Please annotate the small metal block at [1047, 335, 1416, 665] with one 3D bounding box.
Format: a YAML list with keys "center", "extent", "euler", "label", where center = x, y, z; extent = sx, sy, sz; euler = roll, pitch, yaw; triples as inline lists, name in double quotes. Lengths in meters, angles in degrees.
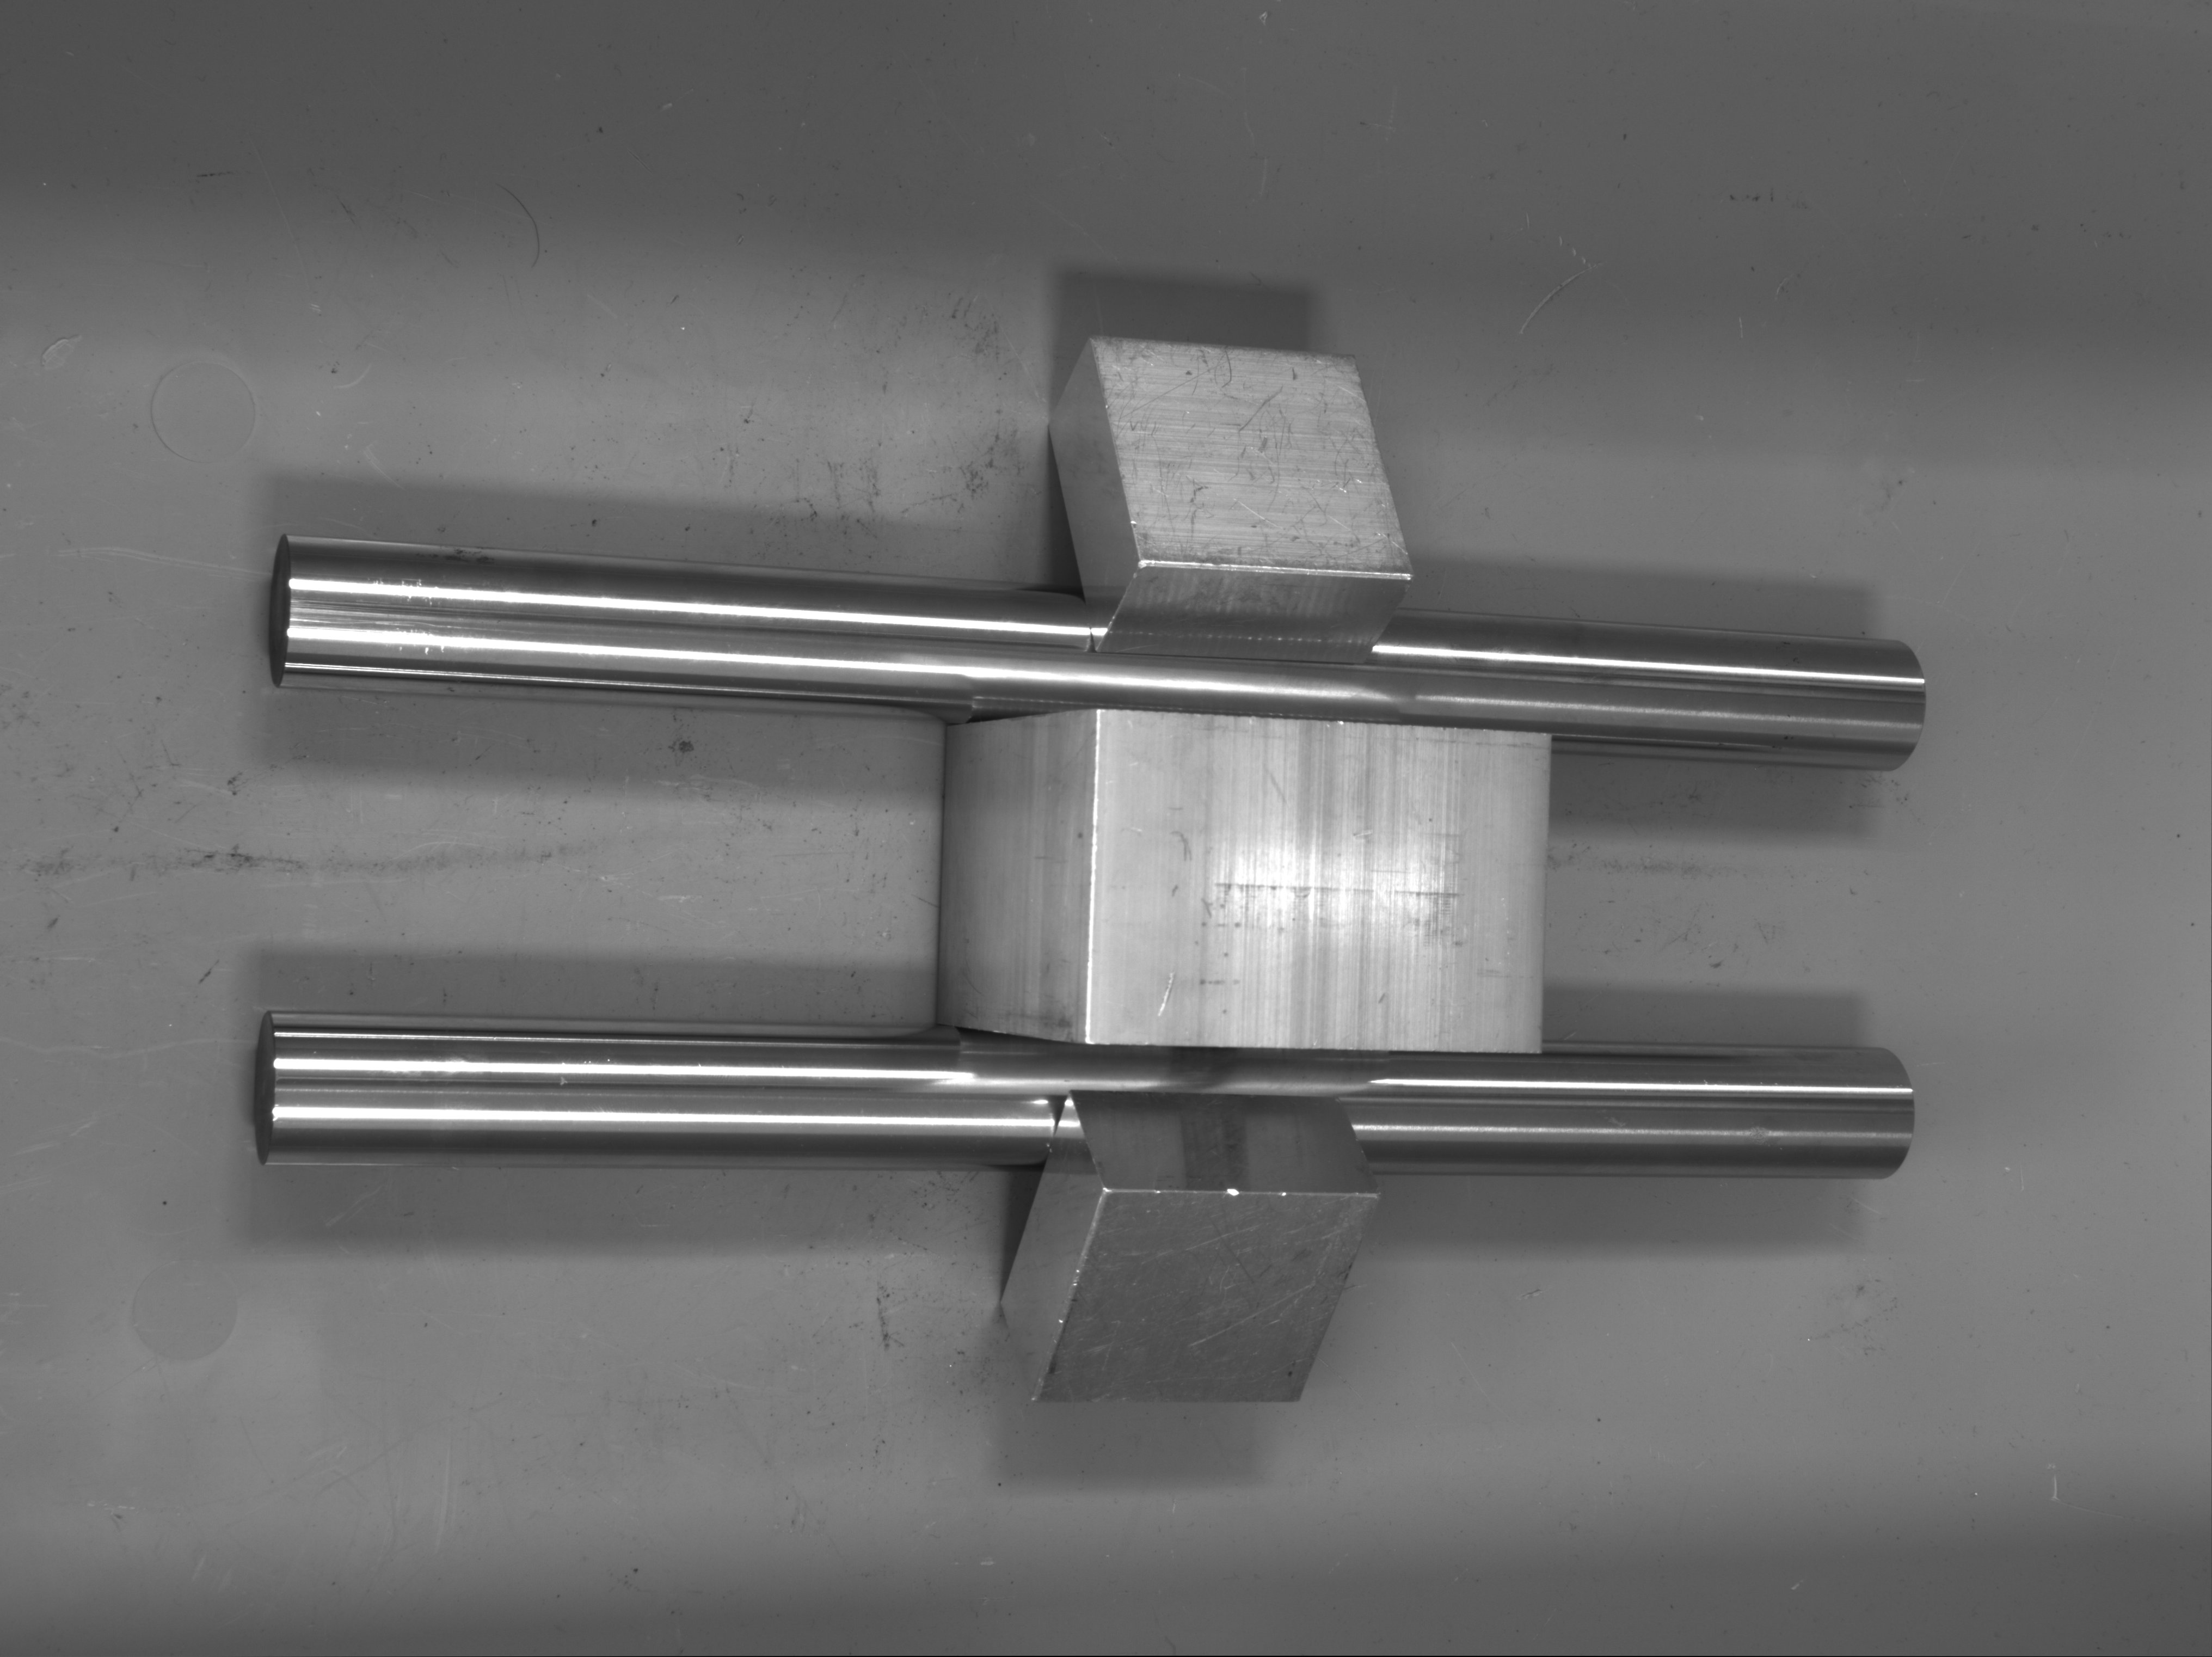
- center: [0.021, -0.057, 0.638]
  extent: [0.050, 0.025, 0.050]
  euler: [1, 55, -20]
  label: "small metal block"

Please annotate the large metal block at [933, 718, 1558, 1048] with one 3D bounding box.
- center: [0.022, 0.009, 0.620]
  extent: [0.080, 0.080, 0.050]
  euler: [2, 89, -20]
  label: "large metal block"

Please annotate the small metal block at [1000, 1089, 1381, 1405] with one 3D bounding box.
- center: [0.014, 0.073, 0.634]
  extent: [0.050, 0.025, 0.050]
  euler: [3, 126, -20]
  label: "small metal block"

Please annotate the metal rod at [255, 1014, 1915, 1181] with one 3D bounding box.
- center: [0.005, 0.048, 0.644]
  extent: [0.301, 0.025, 0.025]
  euler: [2, 89, -20]
  label: "metal rod"

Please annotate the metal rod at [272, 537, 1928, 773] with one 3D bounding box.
- center: [0.008, -0.029, 0.644]
  extent: [0.301, 0.025, 0.025]
  euler: [2, 89, -20]
  label: "metal rod"
